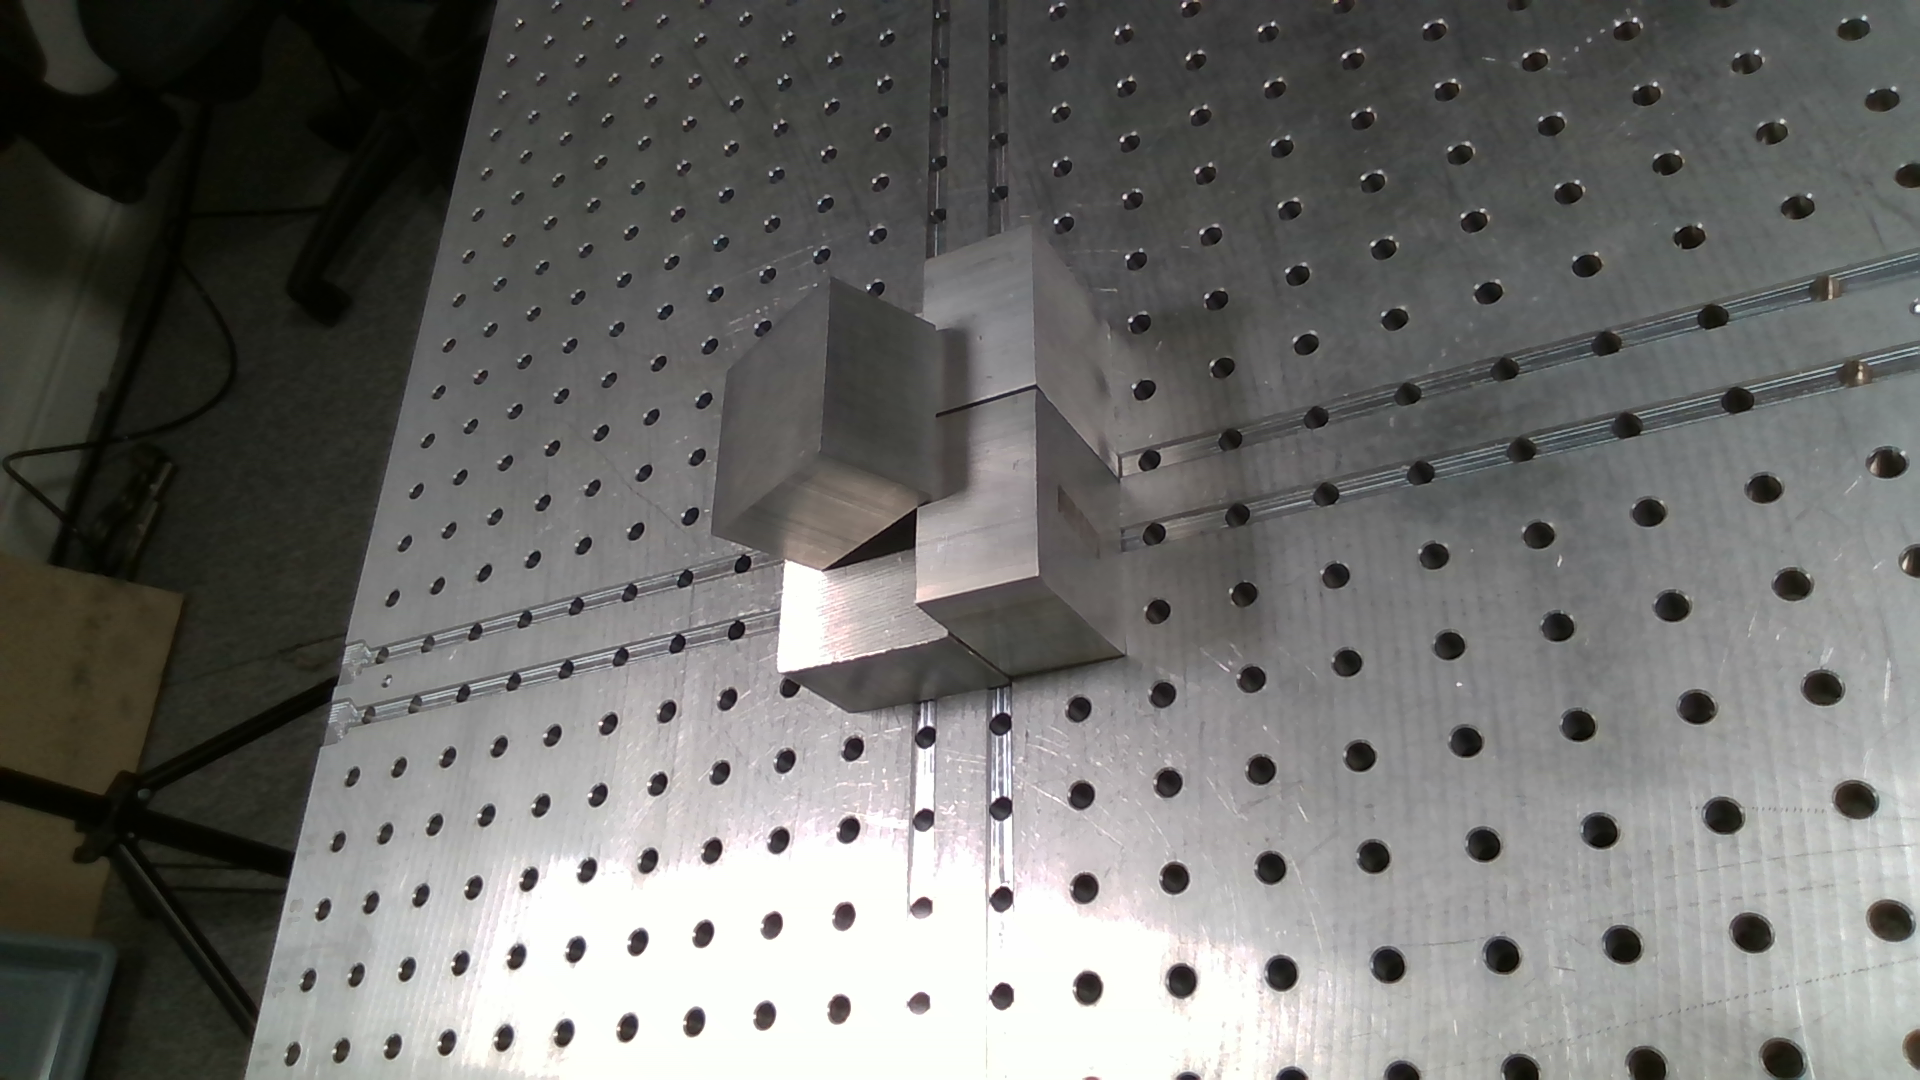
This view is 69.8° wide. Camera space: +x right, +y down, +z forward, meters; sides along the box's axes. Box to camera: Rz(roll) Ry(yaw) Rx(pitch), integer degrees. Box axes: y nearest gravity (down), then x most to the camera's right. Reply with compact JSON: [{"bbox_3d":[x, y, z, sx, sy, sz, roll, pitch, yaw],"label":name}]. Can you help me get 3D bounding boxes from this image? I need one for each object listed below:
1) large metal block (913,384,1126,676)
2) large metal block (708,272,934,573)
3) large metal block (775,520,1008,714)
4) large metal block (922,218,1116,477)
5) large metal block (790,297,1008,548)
[{"bbox_3d":[0.025,-0.001,0.537,0.050,0.080,0.080,-14,59,25],"label":"large metal block"},{"bbox_3d":[-0.055,-0.044,0.543,0.080,0.050,0.080,-32,49,44],"label":"large metal block"},{"bbox_3d":[-0.027,0.021,0.575,0.080,0.050,0.080,-14,59,25],"label":"large metal block"},{"bbox_3d":[0.025,-0.072,0.574,0.050,0.080,0.080,-14,59,25],"label":"large metal block"},{"bbox_3d":[-0.026,-0.051,0.613,0.080,0.050,0.080,-14,59,25],"label":"large metal block"}]
